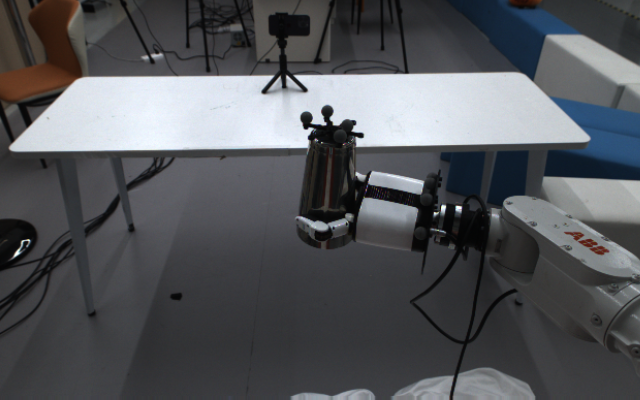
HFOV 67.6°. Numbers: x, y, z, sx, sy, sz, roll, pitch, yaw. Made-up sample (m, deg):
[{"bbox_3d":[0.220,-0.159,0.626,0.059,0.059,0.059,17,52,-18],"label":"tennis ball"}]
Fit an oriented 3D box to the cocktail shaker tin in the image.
[{"bbox_3d":[0.013,-0.022,0.726,0.093,0.170,0.093,3,34,-2],"label":"cocktail shaker tin"}]
